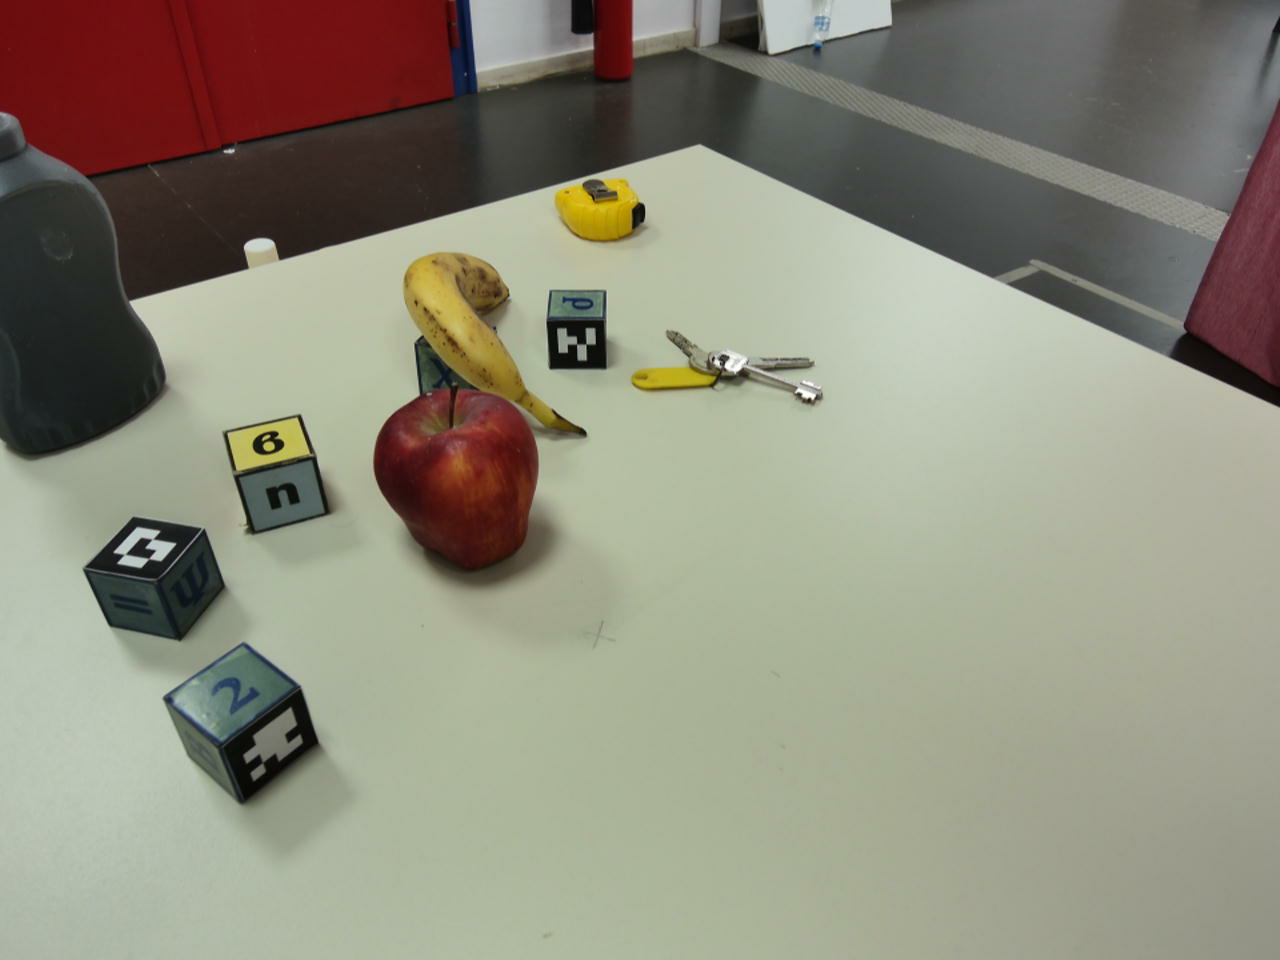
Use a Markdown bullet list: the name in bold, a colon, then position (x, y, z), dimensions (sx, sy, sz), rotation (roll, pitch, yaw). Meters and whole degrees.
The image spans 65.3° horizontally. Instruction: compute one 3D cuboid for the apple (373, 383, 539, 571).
- **apple**: position (-0.088, -0.006, 0.486), dimensions (0.083, 0.090, 0.083), rotation (1, 38, -1)
